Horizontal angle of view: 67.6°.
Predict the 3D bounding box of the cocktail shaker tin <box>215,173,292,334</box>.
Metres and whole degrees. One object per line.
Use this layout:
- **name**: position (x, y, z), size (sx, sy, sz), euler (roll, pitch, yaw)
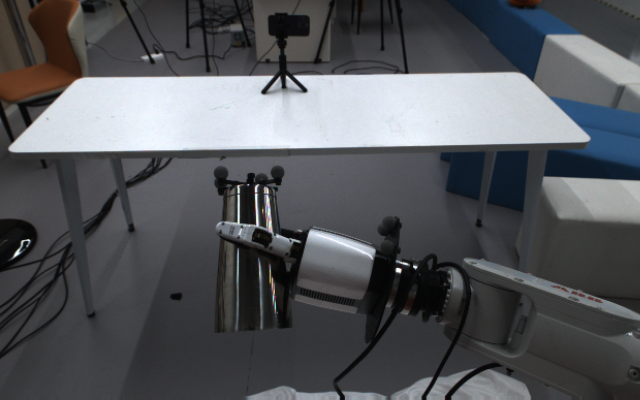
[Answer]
- **cocktail shaker tin**: position (-0.083, 0.072, 0.590), size (0.093, 0.093, 0.170), euler (-3, 76, -7)
